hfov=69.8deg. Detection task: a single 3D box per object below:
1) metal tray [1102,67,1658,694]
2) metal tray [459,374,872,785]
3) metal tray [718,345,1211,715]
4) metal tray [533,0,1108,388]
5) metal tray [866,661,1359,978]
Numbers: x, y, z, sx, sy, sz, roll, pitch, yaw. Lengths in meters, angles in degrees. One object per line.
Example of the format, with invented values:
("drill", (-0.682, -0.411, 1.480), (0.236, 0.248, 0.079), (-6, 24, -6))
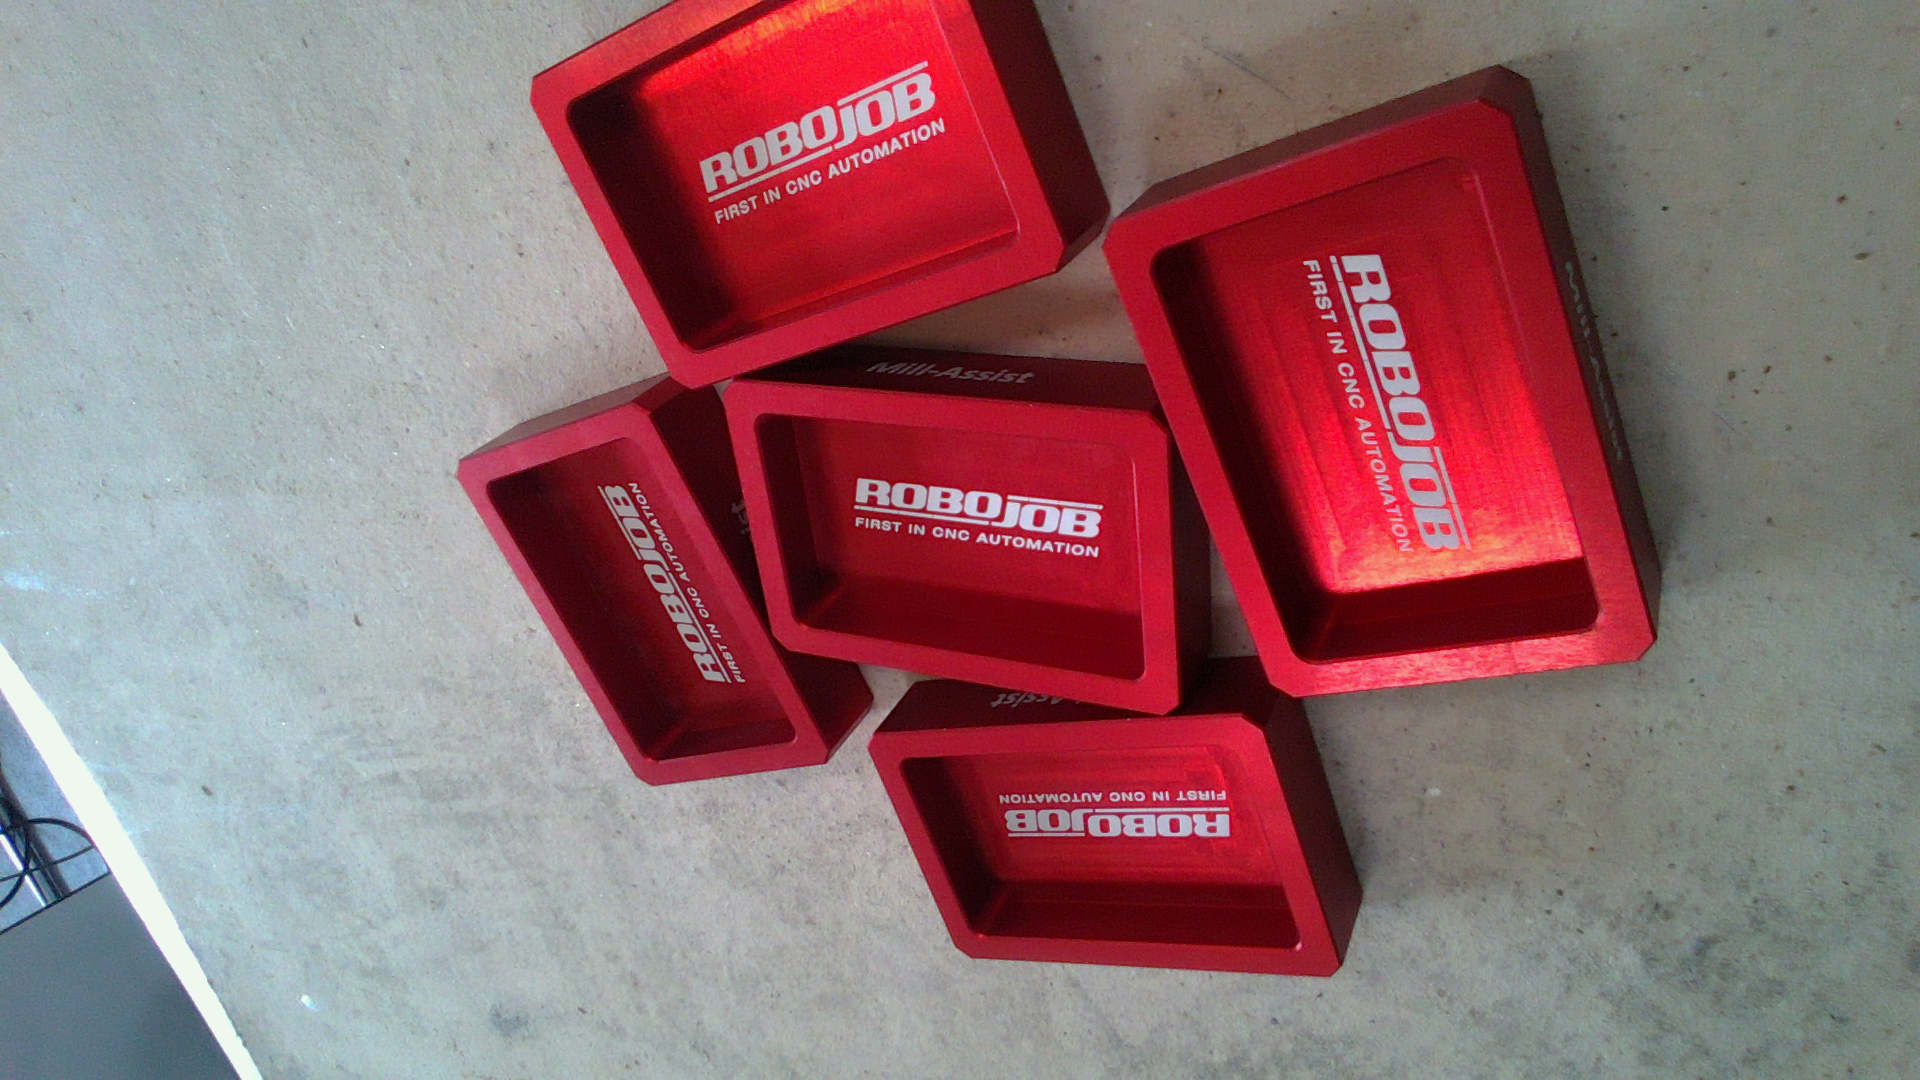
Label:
("metal tray", (0.099, -0.029, 0.319), (0.090, 0.030, 0.130), (-11, 113, 34))
("metal tray", (-0.096, 0.017, 0.452), (0.090, 0.030, 0.130), (-12, 112, 34))
("metal tray", (0.002, -0.005, 0.385), (0.130, 0.030, 0.090), (8, 124, 25))
("metal tray", (-0.038, -0.098, 0.350), (0.129, 0.030, 0.090), (-11, 113, 34))
("metal tray", (0.045, 0.086, 0.418), (0.129, 0.030, 0.090), (-8, 115, 32))
